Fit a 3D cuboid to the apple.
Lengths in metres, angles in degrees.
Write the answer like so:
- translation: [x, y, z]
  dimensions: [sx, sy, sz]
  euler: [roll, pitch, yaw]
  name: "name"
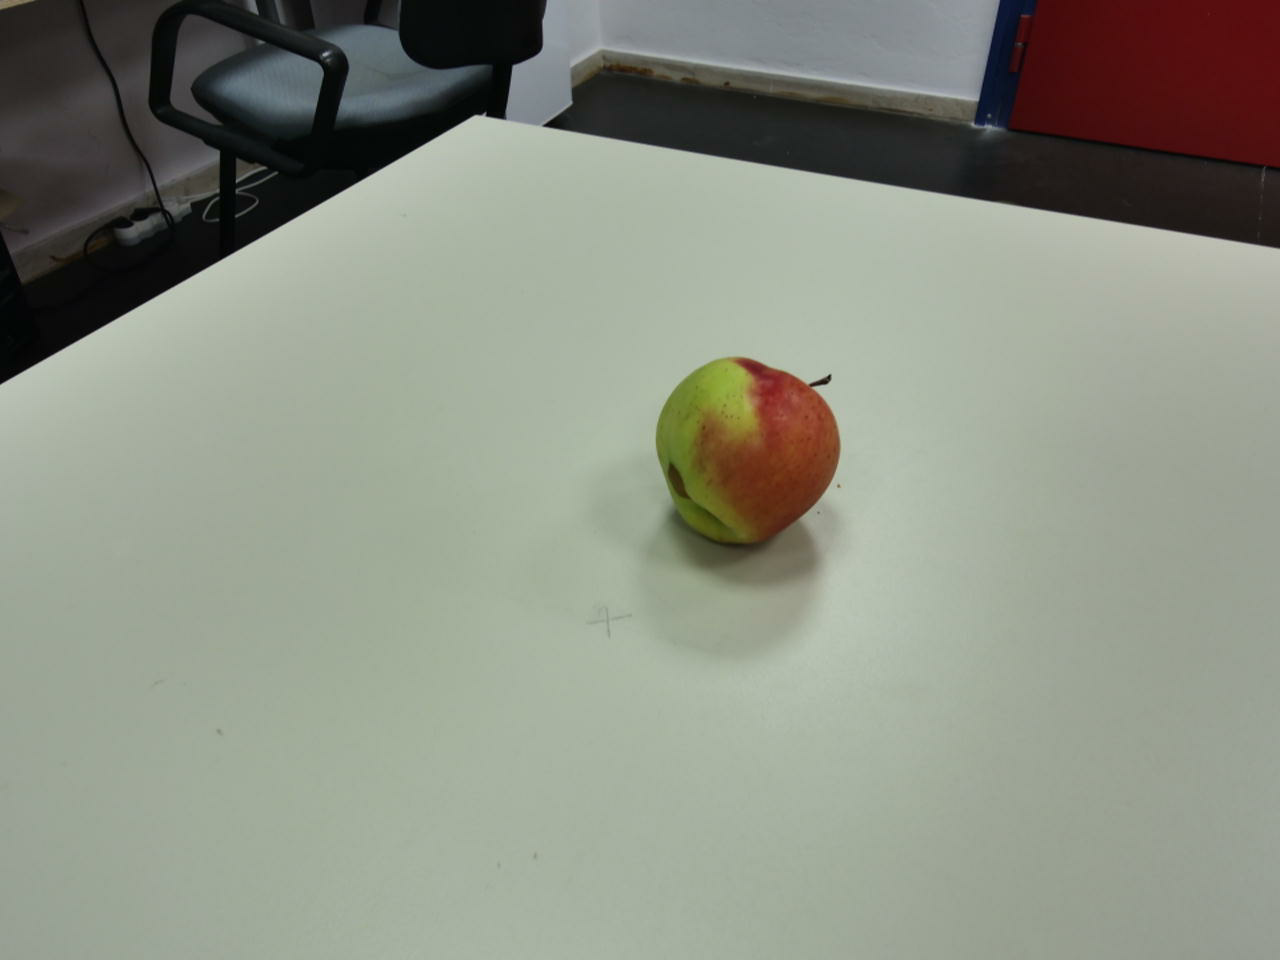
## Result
- translation: [0.043, -0.012, 0.415]
  dimensions: [0.075, 0.074, 0.075]
  euler: [4, 37, 6]
  name: "apple"
